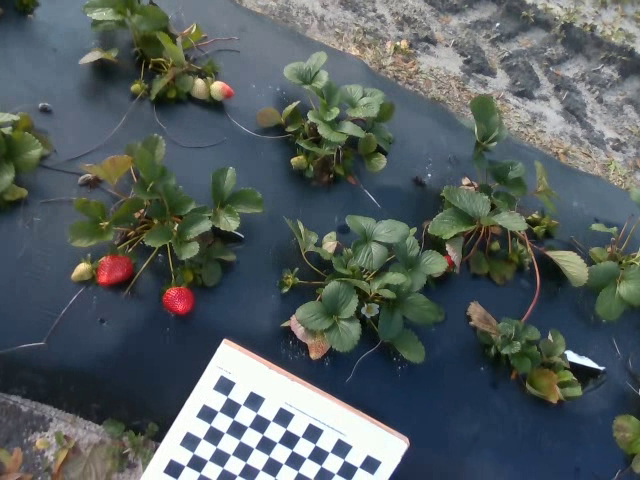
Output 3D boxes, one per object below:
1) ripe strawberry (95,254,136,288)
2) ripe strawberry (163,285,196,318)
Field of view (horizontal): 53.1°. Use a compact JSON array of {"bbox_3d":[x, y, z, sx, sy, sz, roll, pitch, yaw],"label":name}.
[{"bbox_3d":[-0.199,0.031,0.608,0.035,0.041,0.036,15,33,2],"label":"ripe strawberry"},{"bbox_3d":[-0.137,0.062,0.616,0.033,0.038,0.039,35,19,-25],"label":"ripe strawberry"}]
